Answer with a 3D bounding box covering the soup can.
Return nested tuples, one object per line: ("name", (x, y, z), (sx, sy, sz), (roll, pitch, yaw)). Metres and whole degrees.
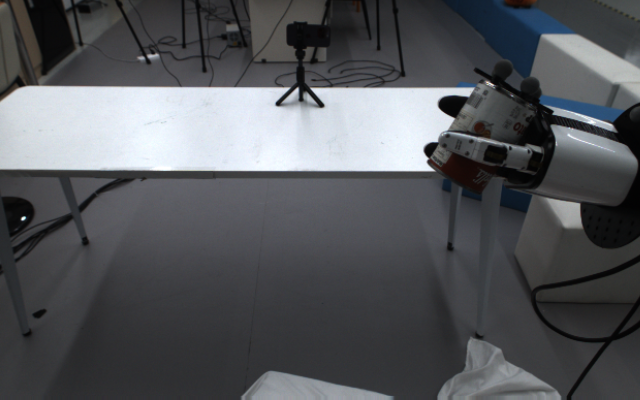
("soup can", (0.171, -0.066, 0.509), (0.067, 0.101, 0.067), (27, 18, -9))
